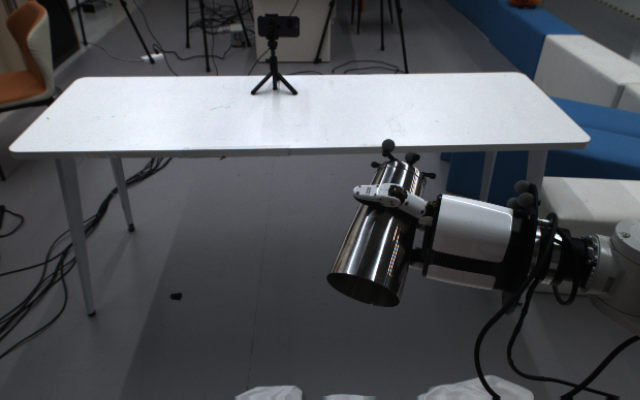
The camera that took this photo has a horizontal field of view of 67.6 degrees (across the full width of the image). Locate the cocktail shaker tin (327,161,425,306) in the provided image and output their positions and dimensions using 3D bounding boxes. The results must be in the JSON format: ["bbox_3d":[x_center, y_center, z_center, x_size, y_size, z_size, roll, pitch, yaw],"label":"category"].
[{"bbox_3d":[0.080,0.037,0.608,0.093,0.093,0.170,14,63,17],"label":"cocktail shaker tin"}]
